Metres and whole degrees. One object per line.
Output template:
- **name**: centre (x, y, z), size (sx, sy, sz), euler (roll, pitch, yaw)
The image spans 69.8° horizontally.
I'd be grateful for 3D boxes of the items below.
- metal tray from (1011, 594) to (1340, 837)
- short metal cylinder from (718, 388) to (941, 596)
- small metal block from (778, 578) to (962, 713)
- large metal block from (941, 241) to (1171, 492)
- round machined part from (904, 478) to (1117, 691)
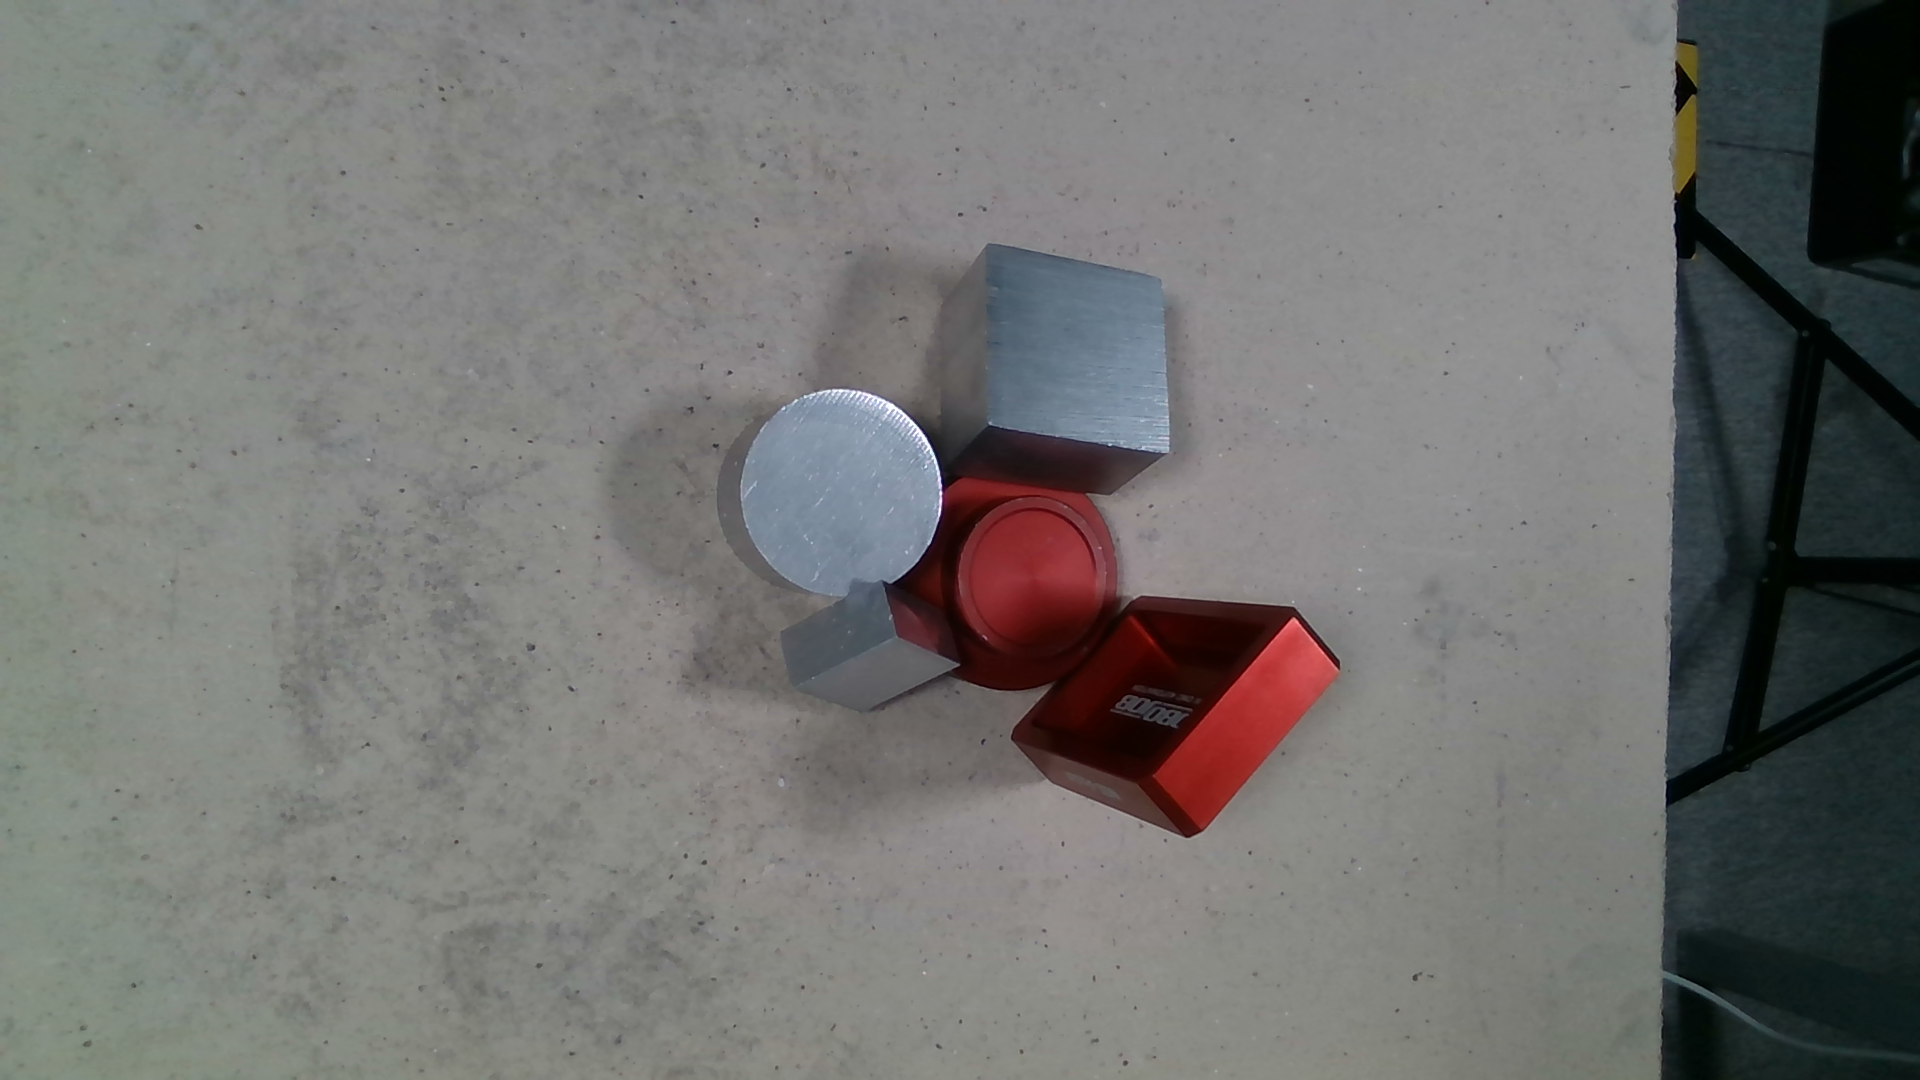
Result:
- **metal tray**: centre (0.083, 0.066, 0.560), size (0.090, 0.130, 0.030), euler (-46, 105, -14)
- **short metal cylinder**: centre (-0.054, -0.019, 0.553), size (0.080, 0.050, 0.080), euler (0, 90, -20)
- **small metal block**: centre (-0.035, 0.043, 0.548), size (0.050, 0.050, 0.025), euler (-27, 62, 19)
- **large metal block**: centre (0.039, -0.069, 0.573), size (0.080, 0.050, 0.080), euler (7, 70, -20)
- **round machined part**: centre (0.023, 0.015, 0.587), size (0.098, 0.042, 0.098), euler (0, 90, -20)
